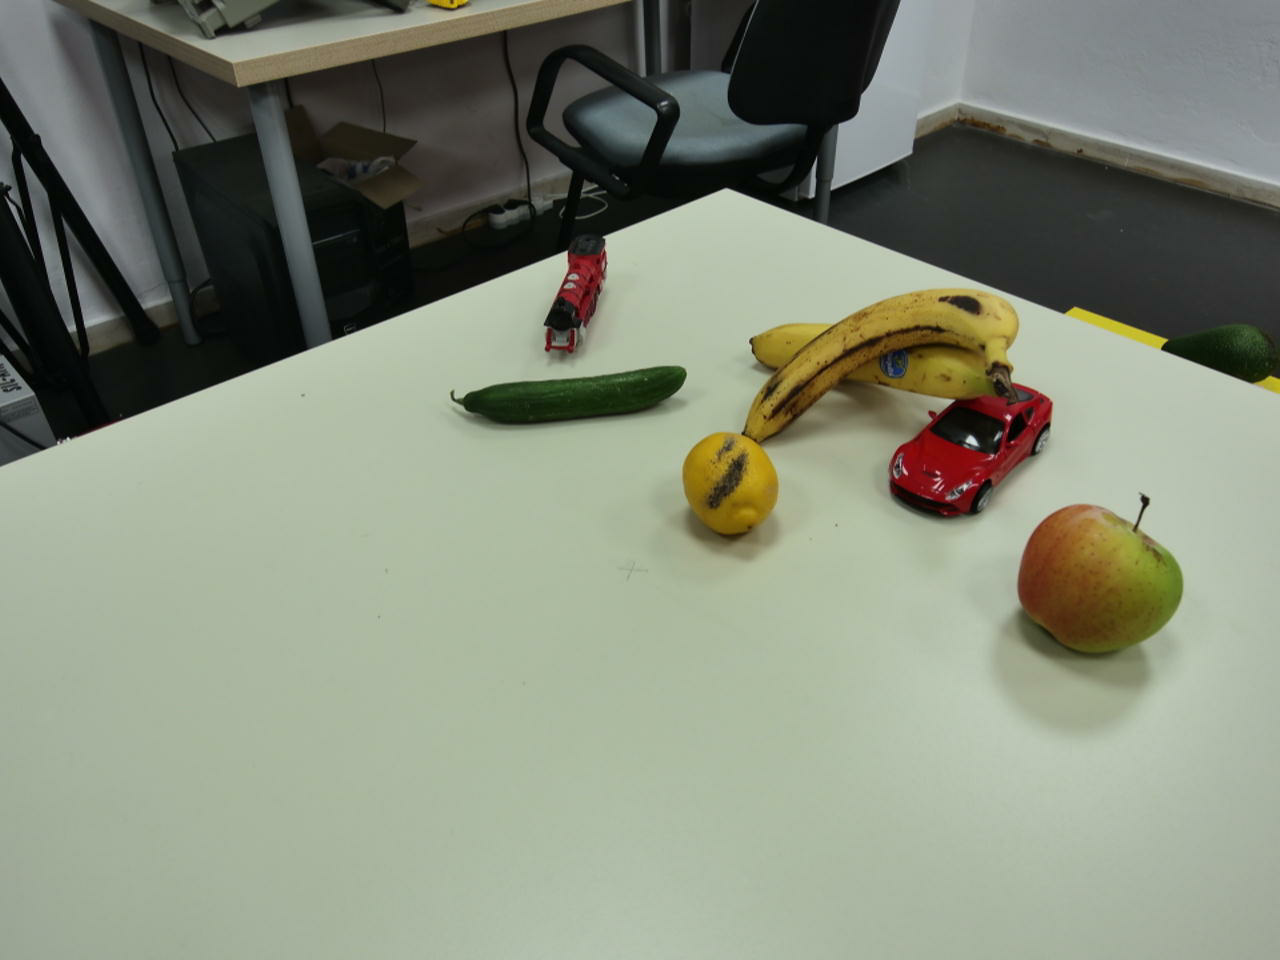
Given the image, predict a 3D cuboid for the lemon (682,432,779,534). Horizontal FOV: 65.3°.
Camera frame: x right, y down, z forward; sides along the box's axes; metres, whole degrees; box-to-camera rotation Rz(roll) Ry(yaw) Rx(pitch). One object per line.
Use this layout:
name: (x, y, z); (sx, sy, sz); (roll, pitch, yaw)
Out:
lemon: (0.055, 0.002, 0.599); (0.061, 0.056, 0.058); (28, 45, 32)
